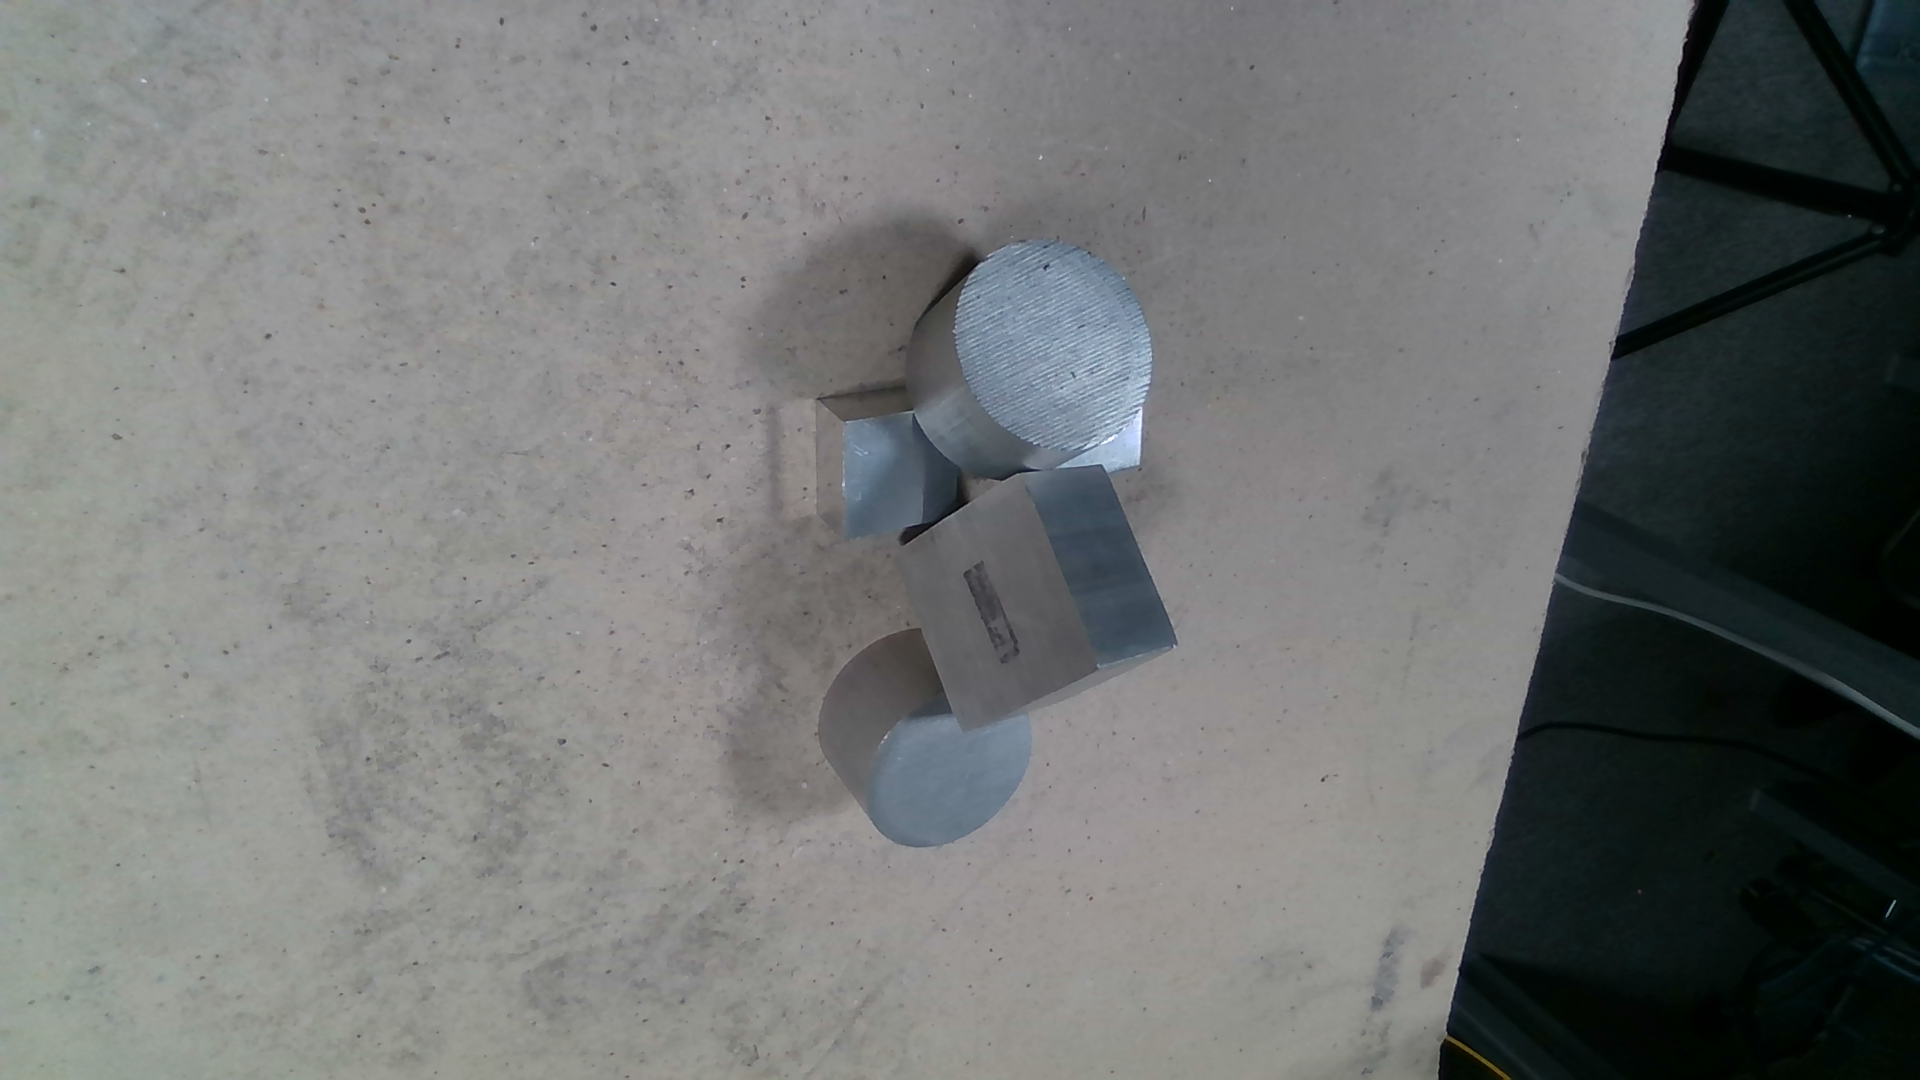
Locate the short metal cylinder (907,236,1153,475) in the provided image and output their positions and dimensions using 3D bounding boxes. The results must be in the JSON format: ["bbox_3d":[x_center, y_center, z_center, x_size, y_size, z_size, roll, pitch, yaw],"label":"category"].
[{"bbox_3d":[0.025,-0.067,0.521,0.080,0.050,0.080,4,78,-22],"label":"short metal cylinder"}]

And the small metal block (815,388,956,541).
[{"bbox_3d":[-0.029,-0.032,0.545,0.050,0.025,0.050,-12,120,-26],"label":"small metal block"}]

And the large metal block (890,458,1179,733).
[{"bbox_3d":[0.028,0.022,0.551,0.050,0.080,0.080,-10,164,-46],"label":"large metal block"}]

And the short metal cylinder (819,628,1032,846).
[{"bbox_3d":[-0.016,0.086,0.602,0.080,0.050,0.080,-14,122,-25],"label":"short metal cylinder"}]

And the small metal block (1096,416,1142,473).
[{"bbox_3d":[0.049,-0.053,0.582,0.050,0.025,0.050,-16,122,-24],"label":"small metal block"}]
